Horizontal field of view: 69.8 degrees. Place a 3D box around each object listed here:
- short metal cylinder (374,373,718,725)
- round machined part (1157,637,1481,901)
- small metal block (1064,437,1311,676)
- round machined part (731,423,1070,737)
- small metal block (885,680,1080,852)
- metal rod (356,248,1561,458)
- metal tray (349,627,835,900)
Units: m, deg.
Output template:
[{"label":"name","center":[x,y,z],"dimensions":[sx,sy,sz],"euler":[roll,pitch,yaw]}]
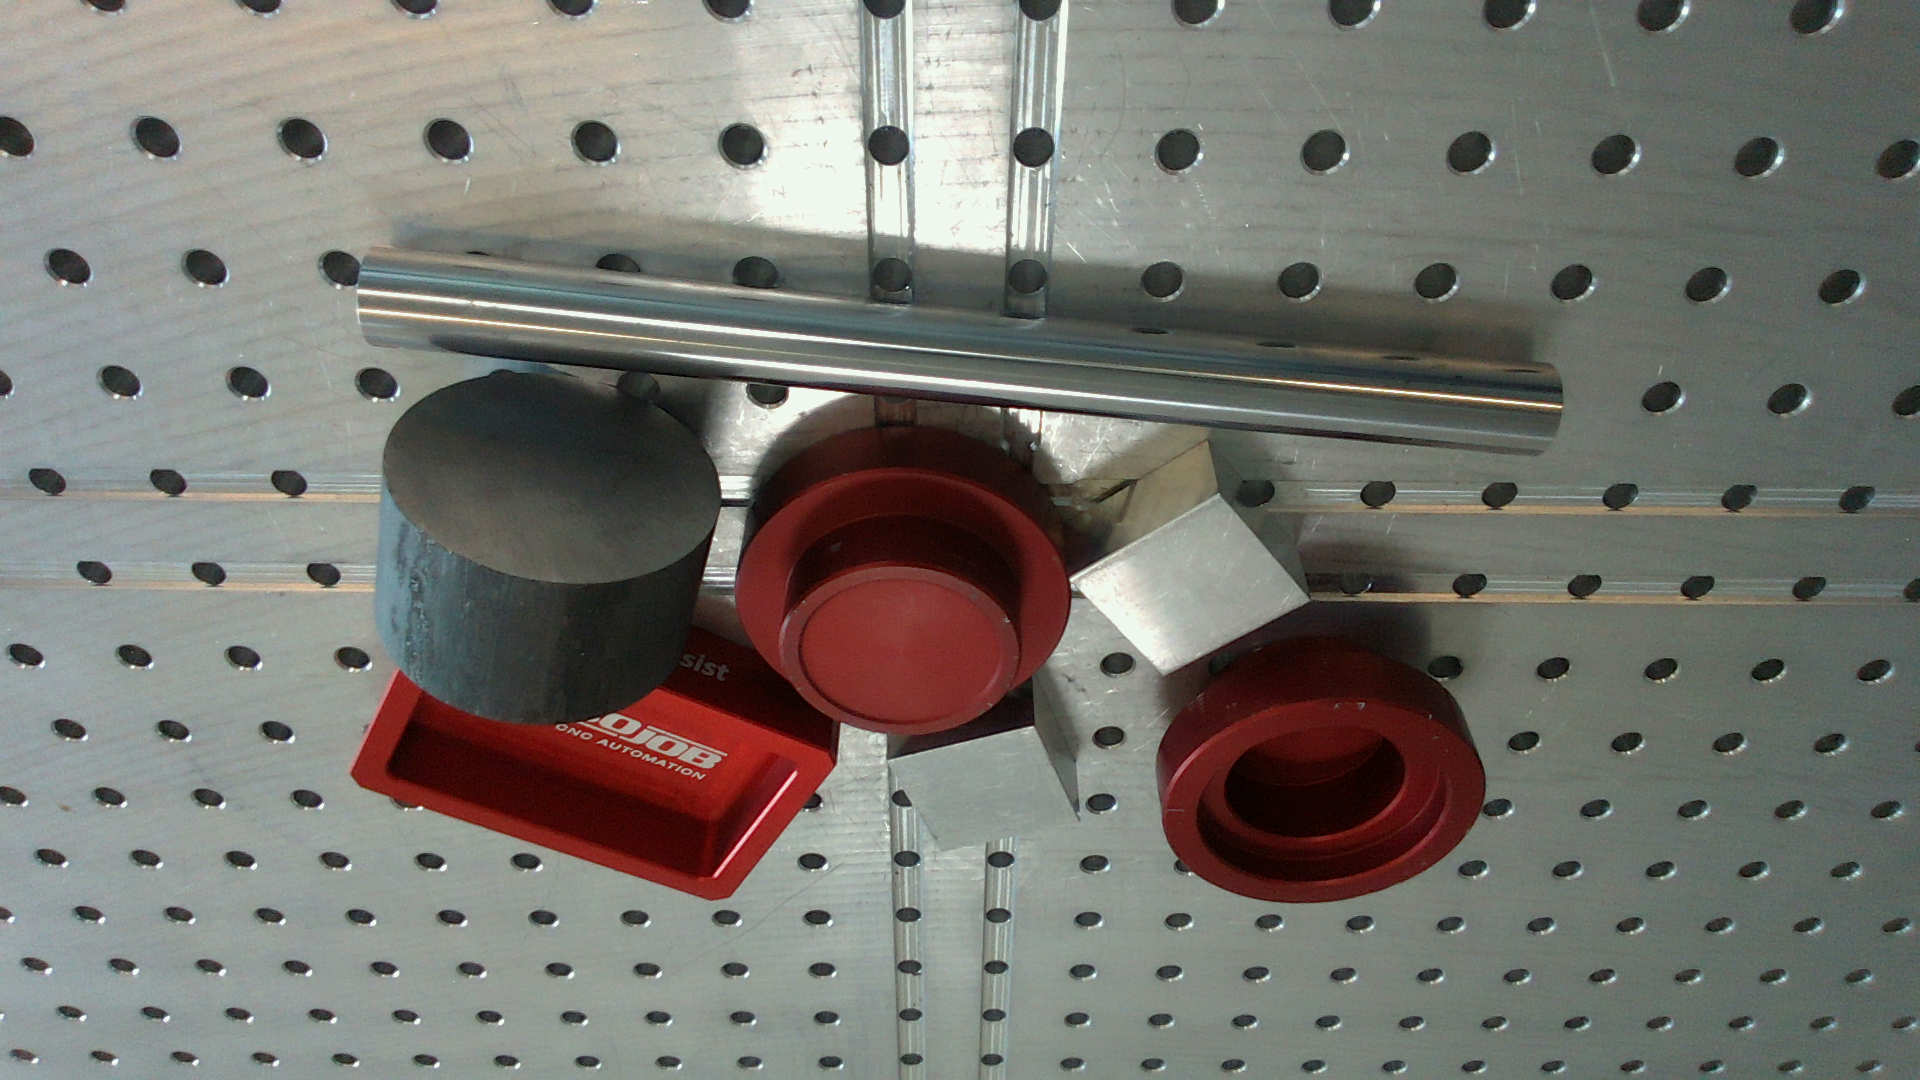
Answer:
[{"label":"short metal cylinder","center":[-0.108,0.001,0.357],"dimensions":[0.080,0.080,0.050],"euler":[14,129,-11]},{"label":"round machined part","center":[0.111,0.070,0.442],"dimensions":[0.098,0.042,0.098],"euler":[0,130,0]},{"label":"small metal block","center":[0.065,0.006,0.399],"dimensions":[0.050,0.025,0.050],"euler":[-31,124,23]},{"label":"round machined part","center":[-0.017,0.018,0.397],"dimensions":[0.098,0.042,0.098],"euler":[0,127,0]},{"label":"small metal block","center":[0.008,0.074,0.456],"dimensions":[0.050,0.025,0.050],"euler":[-15,129,12]},{"label":"metal rod","center":[0.004,-0.047,0.353],"dimensions":[0.300,0.025,0.025],"euler":[5,130,-4]},{"label":"metal tray","center":[-0.116,0.062,0.442],"dimensions":[0.130,0.030,0.090],"euler":[24,126,-19]}]
